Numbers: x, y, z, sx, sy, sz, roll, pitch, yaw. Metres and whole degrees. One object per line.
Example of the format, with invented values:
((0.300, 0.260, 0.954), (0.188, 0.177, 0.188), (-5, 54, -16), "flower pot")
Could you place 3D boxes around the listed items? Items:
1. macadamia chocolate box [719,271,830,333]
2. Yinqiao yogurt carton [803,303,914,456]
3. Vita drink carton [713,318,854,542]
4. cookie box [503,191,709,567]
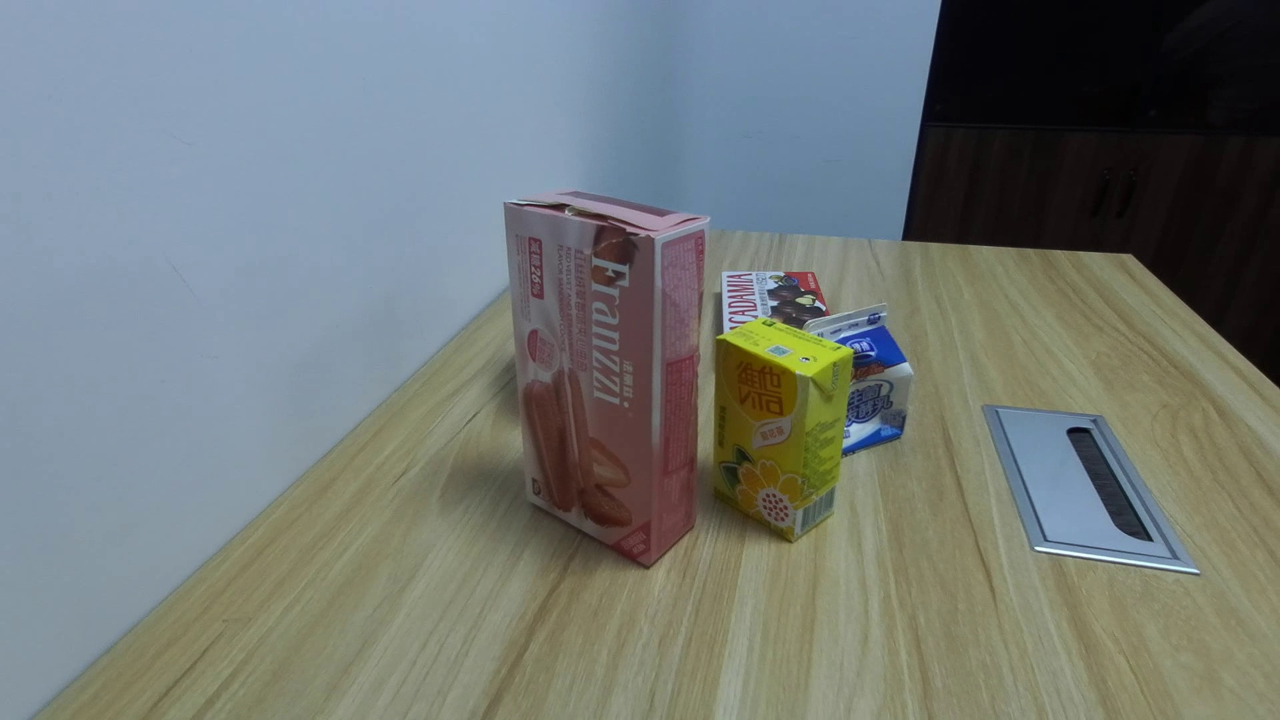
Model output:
((0.121, -0.037, 0.641), (0.095, 0.027, 0.178), (2, 28, 6), "macadamia chocolate box")
((0.135, 0.008, 0.480), (0.077, 0.094, 0.070), (-14, 35, -21), "Yinqiao yogurt carton")
((0.078, 0.039, 0.404), (0.044, 0.109, 0.066), (-25, 36, -37), "Vita drink carton")
((-0.014, 0.009, 0.379), (0.104, 0.187, 0.049), (18, 31, 34), "cookie box")
